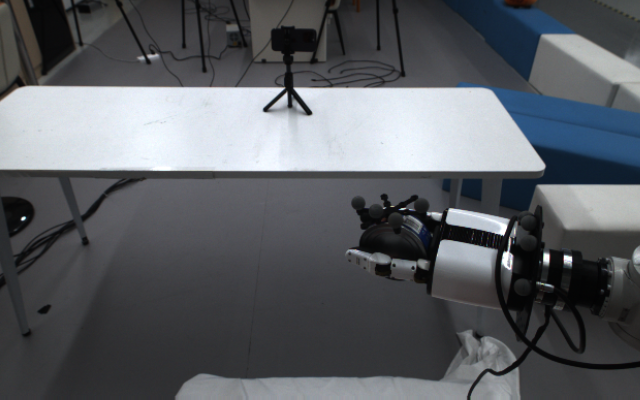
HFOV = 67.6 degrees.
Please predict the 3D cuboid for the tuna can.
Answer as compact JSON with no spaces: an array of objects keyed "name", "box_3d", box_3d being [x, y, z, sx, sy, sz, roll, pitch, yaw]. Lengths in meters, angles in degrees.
[{"name":"tuna can","box_3d":[0.097,0.054,0.601,0.085,0.085,0.034,17,37,20]}]
